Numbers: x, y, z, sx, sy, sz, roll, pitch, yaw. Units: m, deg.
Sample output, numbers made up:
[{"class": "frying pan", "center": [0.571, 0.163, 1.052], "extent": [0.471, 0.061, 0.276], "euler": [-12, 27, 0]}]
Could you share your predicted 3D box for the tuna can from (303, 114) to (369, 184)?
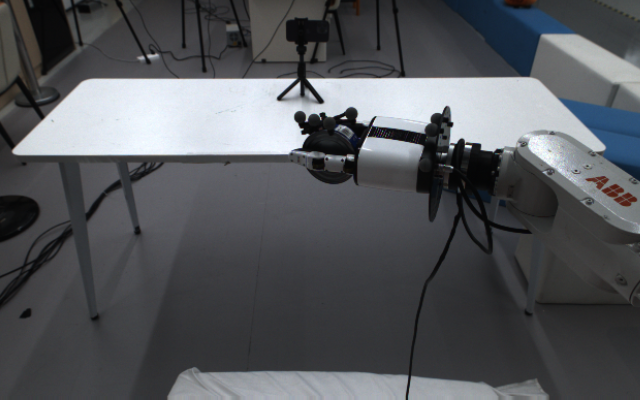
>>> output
[{"class": "tuna can", "center": [0.020, -0.068, 0.709], "extent": [0.085, 0.085, 0.034], "euler": [14, 34, 17]}]
